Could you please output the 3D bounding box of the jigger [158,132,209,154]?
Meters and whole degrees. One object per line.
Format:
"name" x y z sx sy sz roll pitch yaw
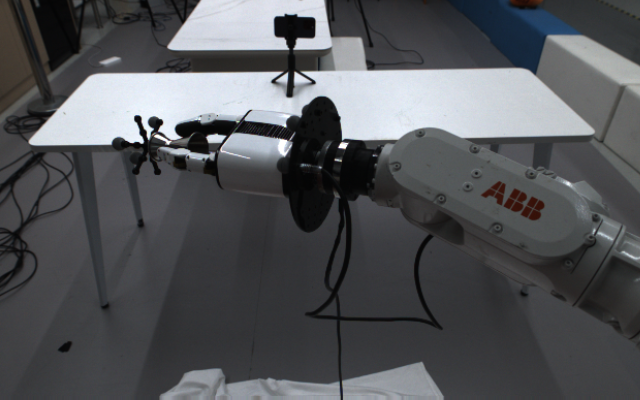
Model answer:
"jigger" -0.180 -0.074 0.641 0.071 0.043 0.043 4 33 24
